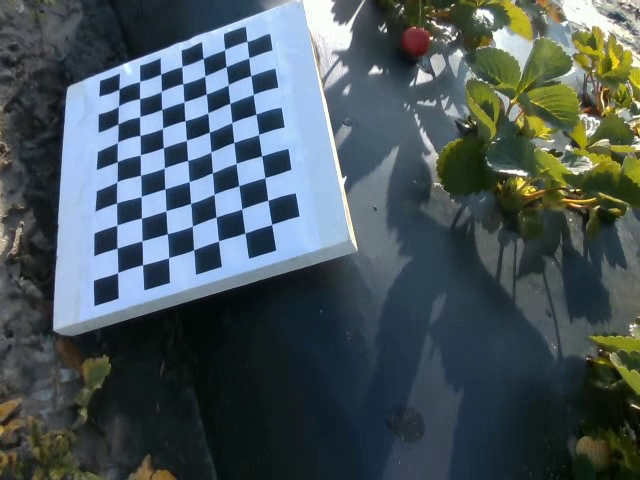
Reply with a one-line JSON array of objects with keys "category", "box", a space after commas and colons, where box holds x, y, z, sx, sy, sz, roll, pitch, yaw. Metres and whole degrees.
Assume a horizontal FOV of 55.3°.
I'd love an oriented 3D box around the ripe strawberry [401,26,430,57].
[{"category": "ripe strawberry", "box": [0.093, -0.195, 0.606, 0.030, 0.033, 0.045, 9, 36, 27]}]
